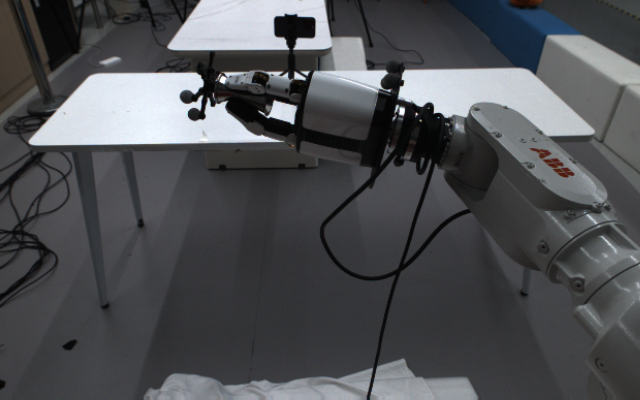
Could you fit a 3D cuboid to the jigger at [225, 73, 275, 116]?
[{"bbox_3d":[-0.091,-0.140,0.623,0.071,0.043,0.043,13,36,4],"label":"jigger"}]
